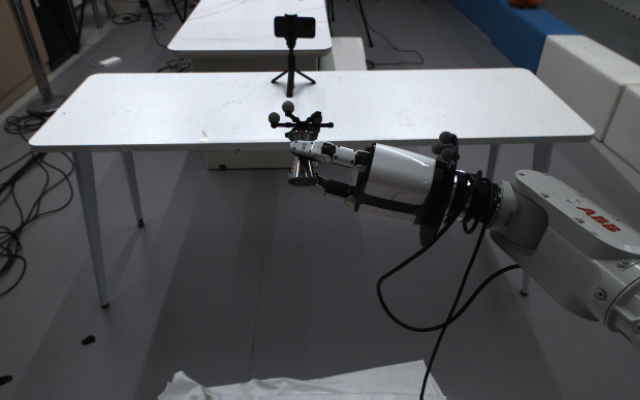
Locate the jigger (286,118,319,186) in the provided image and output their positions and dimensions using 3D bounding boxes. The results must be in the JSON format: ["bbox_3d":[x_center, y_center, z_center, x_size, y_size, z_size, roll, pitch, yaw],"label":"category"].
[{"bbox_3d":[-0.024,-0.058,0.669,0.043,0.043,0.071,0,75,-3],"label":"jigger"}]
